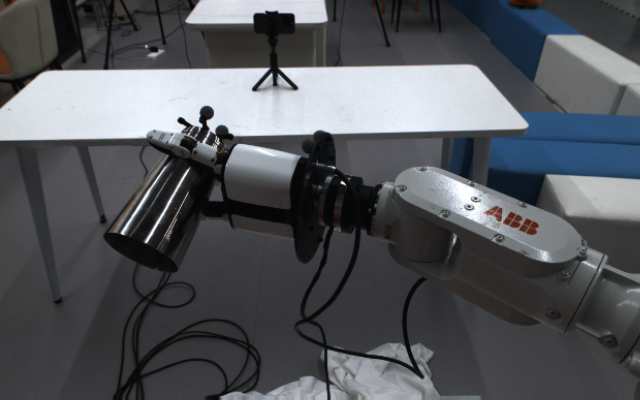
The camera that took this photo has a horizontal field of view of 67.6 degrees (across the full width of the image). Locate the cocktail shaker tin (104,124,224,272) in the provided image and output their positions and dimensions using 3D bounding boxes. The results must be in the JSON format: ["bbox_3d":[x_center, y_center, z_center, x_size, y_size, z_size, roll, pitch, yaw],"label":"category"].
[{"bbox_3d":[-0.180,-0.009,0.599,0.093,0.093,0.170,13,59,15],"label":"cocktail shaker tin"}]
